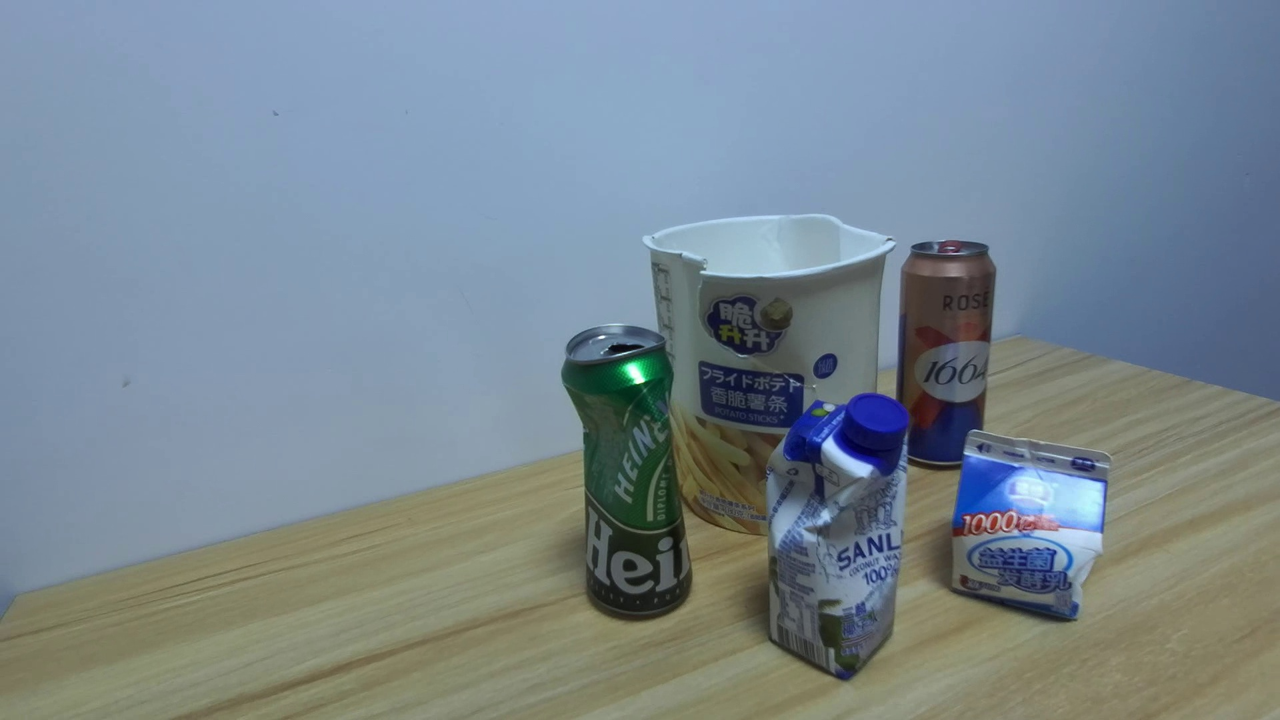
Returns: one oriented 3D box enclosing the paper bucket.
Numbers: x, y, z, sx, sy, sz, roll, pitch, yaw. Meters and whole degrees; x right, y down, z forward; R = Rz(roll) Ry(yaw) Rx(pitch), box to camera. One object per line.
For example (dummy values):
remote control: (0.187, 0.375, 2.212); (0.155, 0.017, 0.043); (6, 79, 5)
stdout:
paper bucket: (0.094, 0.004, 0.507); (0.146, 0.197, 0.202); (-10, 20, -12)

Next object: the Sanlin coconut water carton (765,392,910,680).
Sanlin coconut water carton: (0.097, 0.083, 0.356); (0.061, 0.144, 0.069); (-23, 27, -40)

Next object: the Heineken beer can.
Heineken beer can: (-0.007, 0.064, 0.410); (0.066, 0.164, 0.077); (-2, 22, 11)

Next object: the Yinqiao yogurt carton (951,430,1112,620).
Yinqiao yogurt carton: (0.220, 0.086, 0.397); (0.074, 0.097, 0.080); (6, 28, 30)
